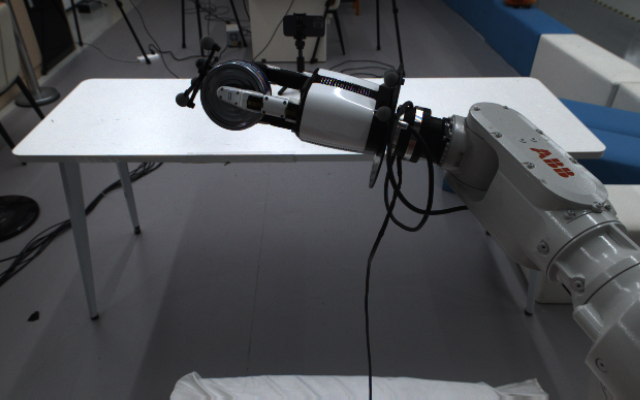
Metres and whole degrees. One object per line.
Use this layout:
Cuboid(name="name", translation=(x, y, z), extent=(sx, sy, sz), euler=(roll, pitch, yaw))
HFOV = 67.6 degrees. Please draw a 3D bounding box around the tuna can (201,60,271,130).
Cuboid(name="tuna can", translation=(-0.103, -0.129, 0.610), extent=(0.085, 0.085, 0.034), euler=(3, 22, 2))
